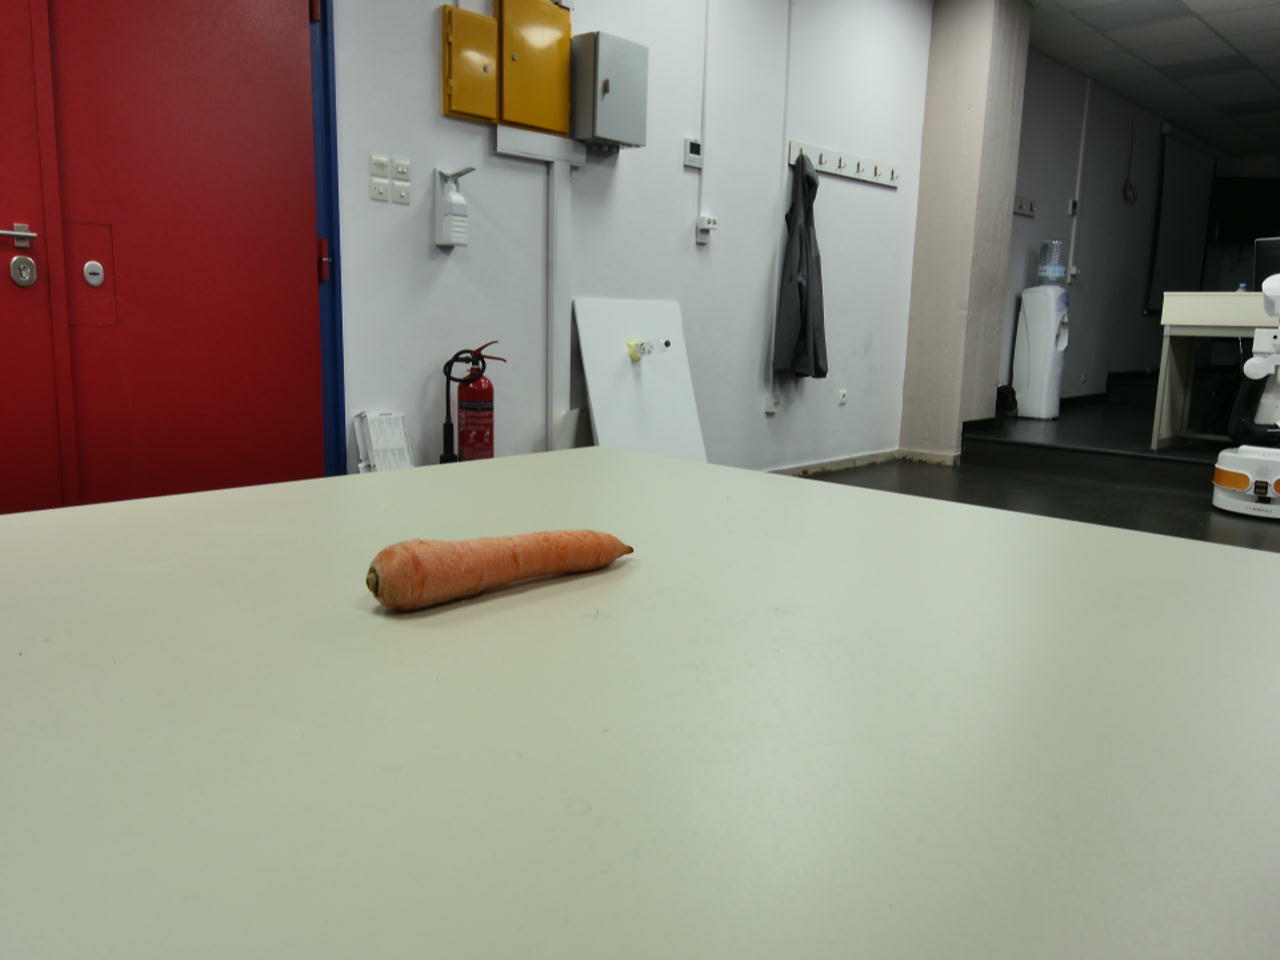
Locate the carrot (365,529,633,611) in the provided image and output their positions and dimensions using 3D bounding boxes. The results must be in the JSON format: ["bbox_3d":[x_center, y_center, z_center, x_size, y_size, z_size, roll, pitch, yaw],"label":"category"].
[{"bbox_3d":[-0.076,0.045,0.603,0.039,0.041,0.196,7,12,43],"label":"carrot"}]
